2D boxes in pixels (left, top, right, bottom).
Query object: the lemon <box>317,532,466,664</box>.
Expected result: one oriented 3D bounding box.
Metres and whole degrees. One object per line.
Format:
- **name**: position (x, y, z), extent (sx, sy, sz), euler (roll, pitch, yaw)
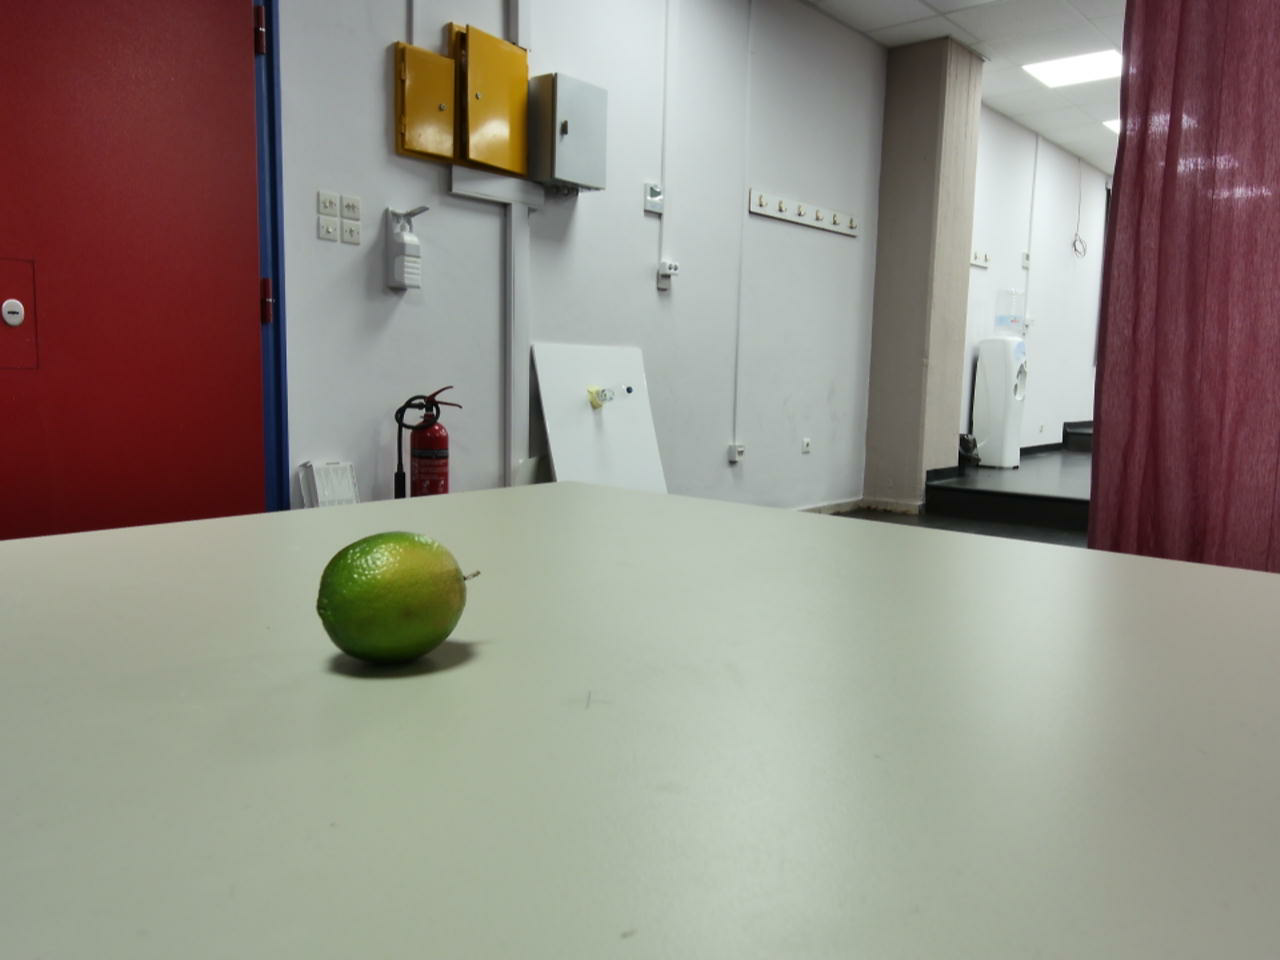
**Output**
- **lemon**: position (-0.097, 0.045, 0.393), extent (0.055, 0.050, 0.054), euler (0, 4, 0)
